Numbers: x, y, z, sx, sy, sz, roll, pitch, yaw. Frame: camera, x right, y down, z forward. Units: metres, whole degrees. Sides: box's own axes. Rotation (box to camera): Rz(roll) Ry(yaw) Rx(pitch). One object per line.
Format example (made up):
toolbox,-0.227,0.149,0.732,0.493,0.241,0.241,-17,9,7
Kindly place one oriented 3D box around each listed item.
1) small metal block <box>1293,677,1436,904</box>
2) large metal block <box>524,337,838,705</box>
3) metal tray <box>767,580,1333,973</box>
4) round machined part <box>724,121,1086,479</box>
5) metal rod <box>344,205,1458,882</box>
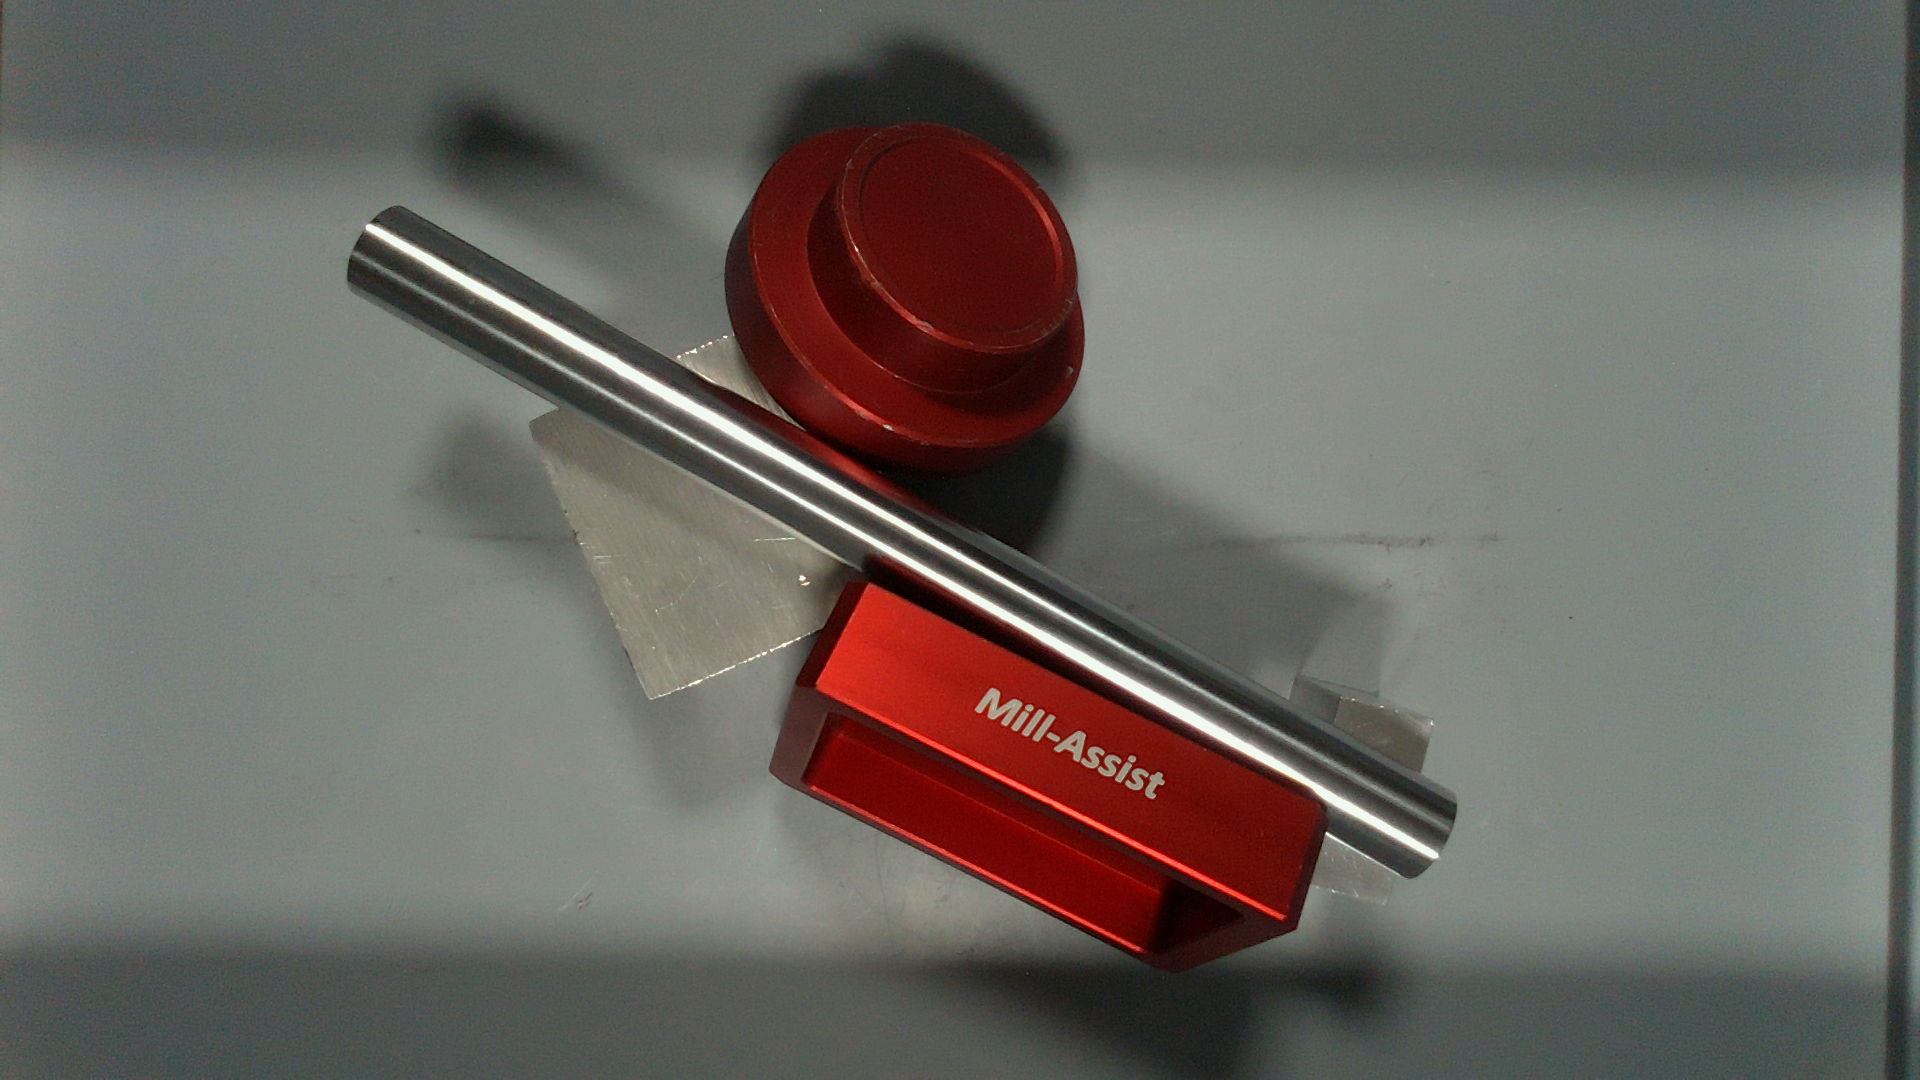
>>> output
small metal block,0.105,0.067,0.382,0.025,0.050,0.050,14,90,0
large metal block,-0.060,-0.010,0.381,0.080,0.050,0.080,-23,90,0
metal tray,0.018,0.066,0.359,0.130,0.090,0.030,26,63,0
round machined part,-0.008,-0.069,0.360,0.098,0.042,0.098,14,60,-25
metal rod,-0.014,0.001,0.343,0.300,0.025,0.025,29,90,0
